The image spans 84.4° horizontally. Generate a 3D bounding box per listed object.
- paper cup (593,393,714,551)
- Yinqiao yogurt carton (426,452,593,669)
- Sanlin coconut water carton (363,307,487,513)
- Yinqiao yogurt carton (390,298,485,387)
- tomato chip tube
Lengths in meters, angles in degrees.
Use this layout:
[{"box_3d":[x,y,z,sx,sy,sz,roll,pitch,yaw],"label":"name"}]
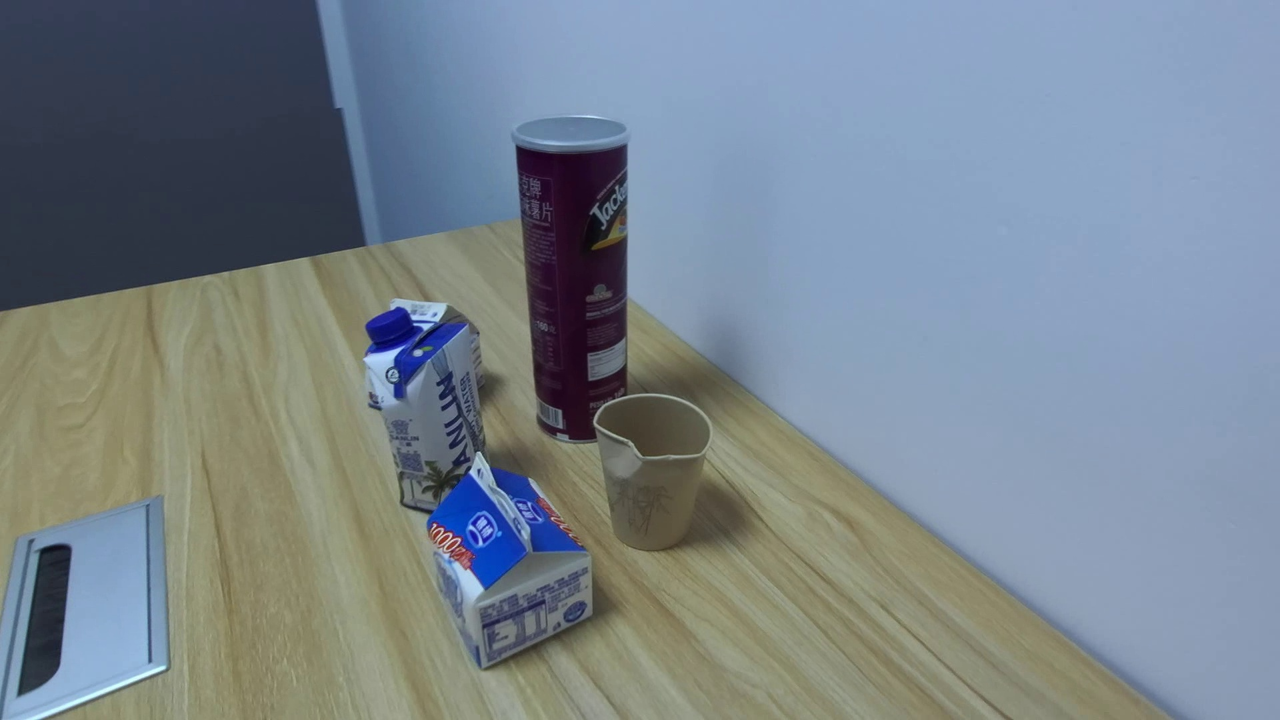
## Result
[{"box_3d":[0.007,0.075,0.462,0.073,0.081,0.068,-5,31,-10],"label":"paper cup"},{"box_3d":[-0.076,0.107,0.404,0.074,0.092,0.075,-18,37,-28],"label":"Yinqiao yogurt carton"},{"box_3d":[-0.141,0.034,0.479,0.057,0.142,0.078,4,30,17],"label":"Sanlin coconut water carton"},{"box_3d":[-0.180,-0.010,0.592,0.083,0.093,0.077,13,35,20],"label":"Yinqiao yogurt carton"},{"box_3d":[-0.047,-0.052,0.528,0.078,0.234,0.078,1,31,0],"label":"tomato chip tube"}]
